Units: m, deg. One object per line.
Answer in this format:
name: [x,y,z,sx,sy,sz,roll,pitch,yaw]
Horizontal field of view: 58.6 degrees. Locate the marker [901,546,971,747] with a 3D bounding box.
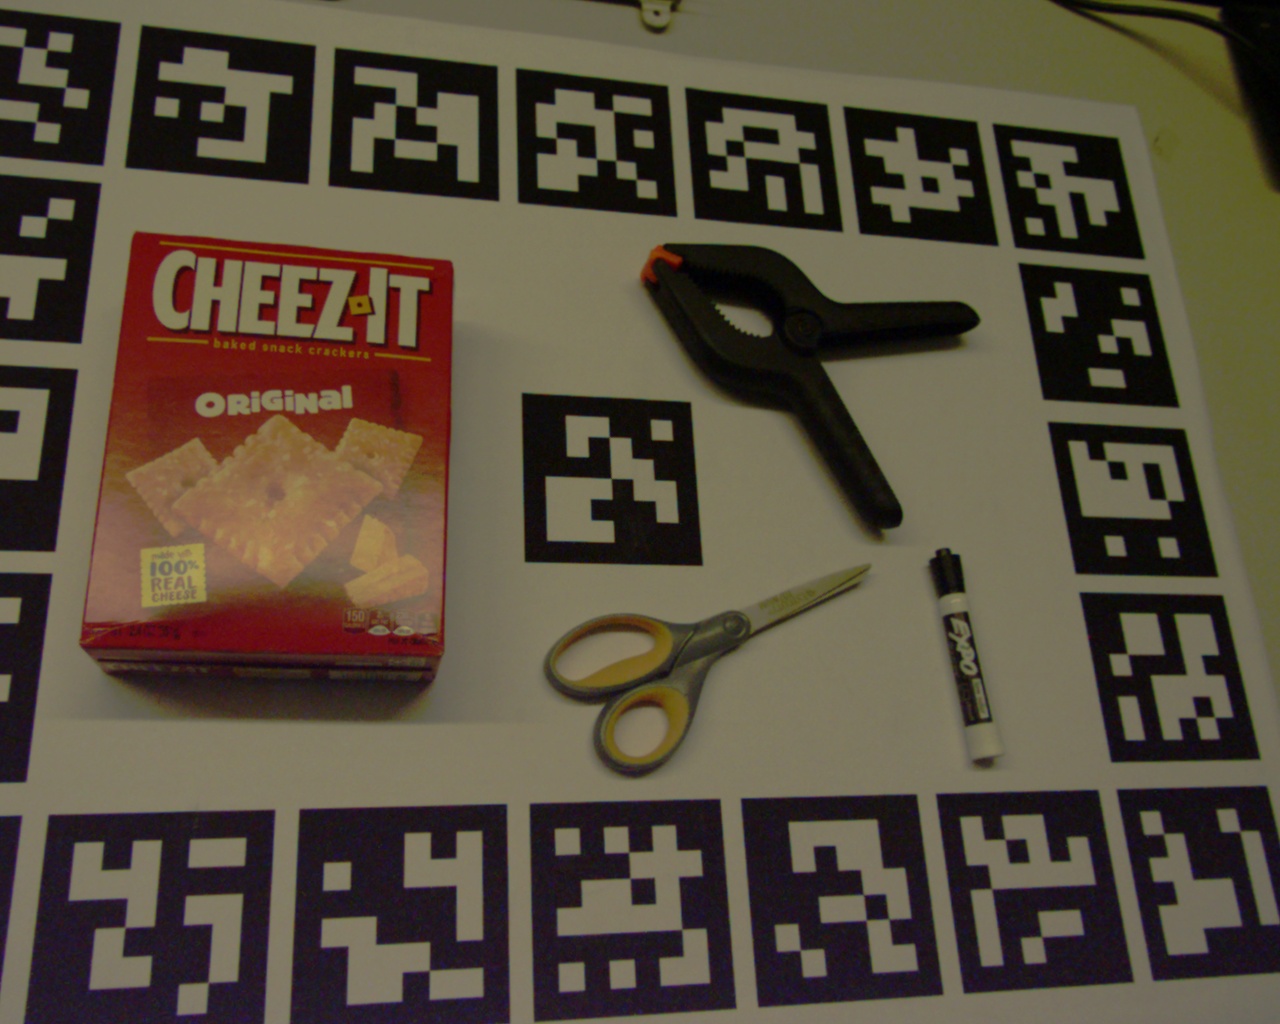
marker: [0.176,0.078,0.683,0.019,0.020,0.121,-2,70,-14]

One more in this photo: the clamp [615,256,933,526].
clamp: [0.075,-0.104,0.734,0.202,0.037,0.165,30,65,-1]

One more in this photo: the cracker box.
cracker box: [-0.186,-0.021,0.610,0.163,0.072,0.214,3,69,-12]

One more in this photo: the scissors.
scissors: [0.038,0.070,0.655,0.201,0.016,0.088,-28,77,-23]
